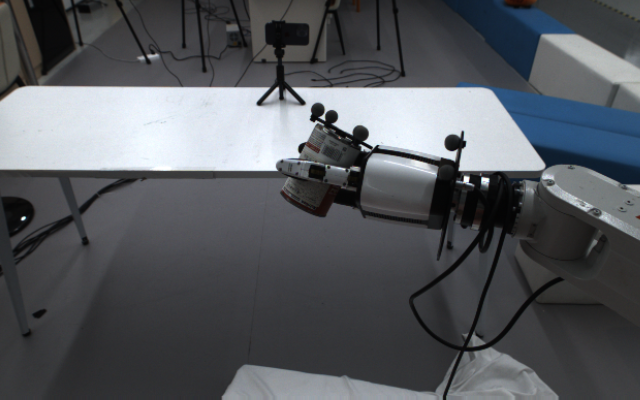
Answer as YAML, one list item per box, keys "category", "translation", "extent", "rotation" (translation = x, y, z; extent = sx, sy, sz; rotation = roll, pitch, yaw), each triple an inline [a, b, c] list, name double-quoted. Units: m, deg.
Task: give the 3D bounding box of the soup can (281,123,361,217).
- category: "soup can"
  translation: [0.002, -0.038, 0.622]
  extent: [0.067, 0.101, 0.067]
  rotation: [27, 10, -5]
